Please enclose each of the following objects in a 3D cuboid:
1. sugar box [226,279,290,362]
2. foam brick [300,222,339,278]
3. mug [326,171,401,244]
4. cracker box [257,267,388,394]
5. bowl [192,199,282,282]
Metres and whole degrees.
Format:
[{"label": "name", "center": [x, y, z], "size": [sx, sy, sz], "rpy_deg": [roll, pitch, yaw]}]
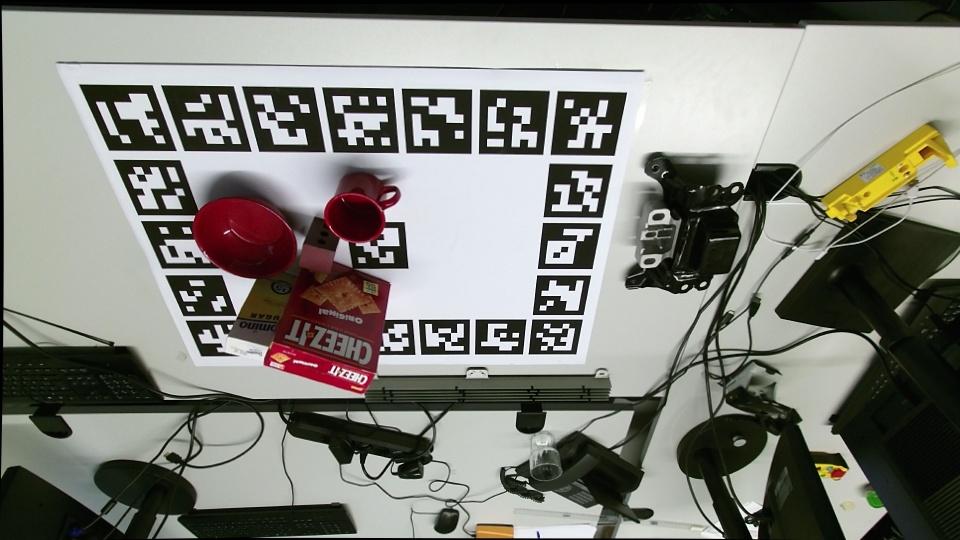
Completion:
[{"label": "sugar box", "center": [-0.365, 0.089, 0.919], "size": [0.093, 0.175, 0.045], "rpy_deg": [18, 124, -16]}, {"label": "foam brick", "center": [-0.268, -0.034, 0.897], "size": [0.053, 0.078, 0.051], "rpy_deg": [13, 126, -13]}, {"label": "mug", "center": [-0.182, -0.101, 0.837], "size": [0.117, 0.081, 0.093], "rpy_deg": [-8, 135, 1]}, {"label": "cracker box", "center": [-0.253, 0.090, 0.902], "size": [0.165, 0.212, 0.072], "rpy_deg": [25, 124, -19]}, {"label": "bowl", "center": [-0.389, -0.057, 0.869], "size": [0.162, 0.055, 0.162], "rpy_deg": [-1, 126, -2]}]
